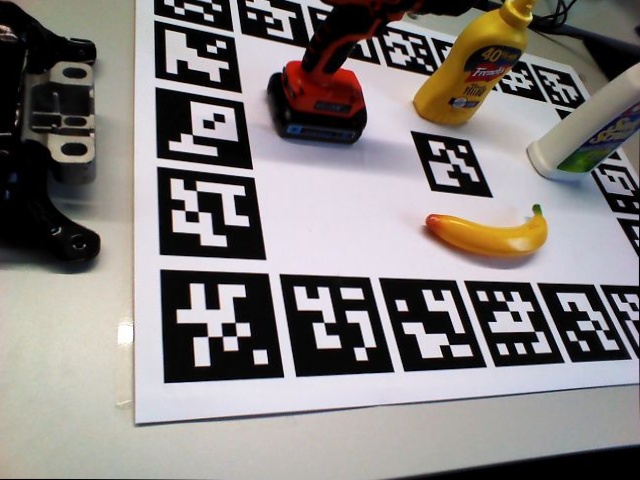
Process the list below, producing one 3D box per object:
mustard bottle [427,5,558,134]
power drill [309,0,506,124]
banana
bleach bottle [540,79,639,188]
[{"bbox_3d":[0.231,-0.221,0.674,0.096,0.193,0.058,-4,62,-30],"label":"mustard bottle"},{"bbox_3d":[0.080,-0.206,0.551,0.184,0.188,0.057,-4,62,-24],"label":"power drill"},{"bbox_3d":[0.239,-0.004,0.624,0.197,0.039,0.074,-3,63,-24],"label":"banana"},{"bbox_3d":[0.427,-0.171,0.698,0.102,0.252,0.067,11,56,-20],"label":"bleach bottle"}]
